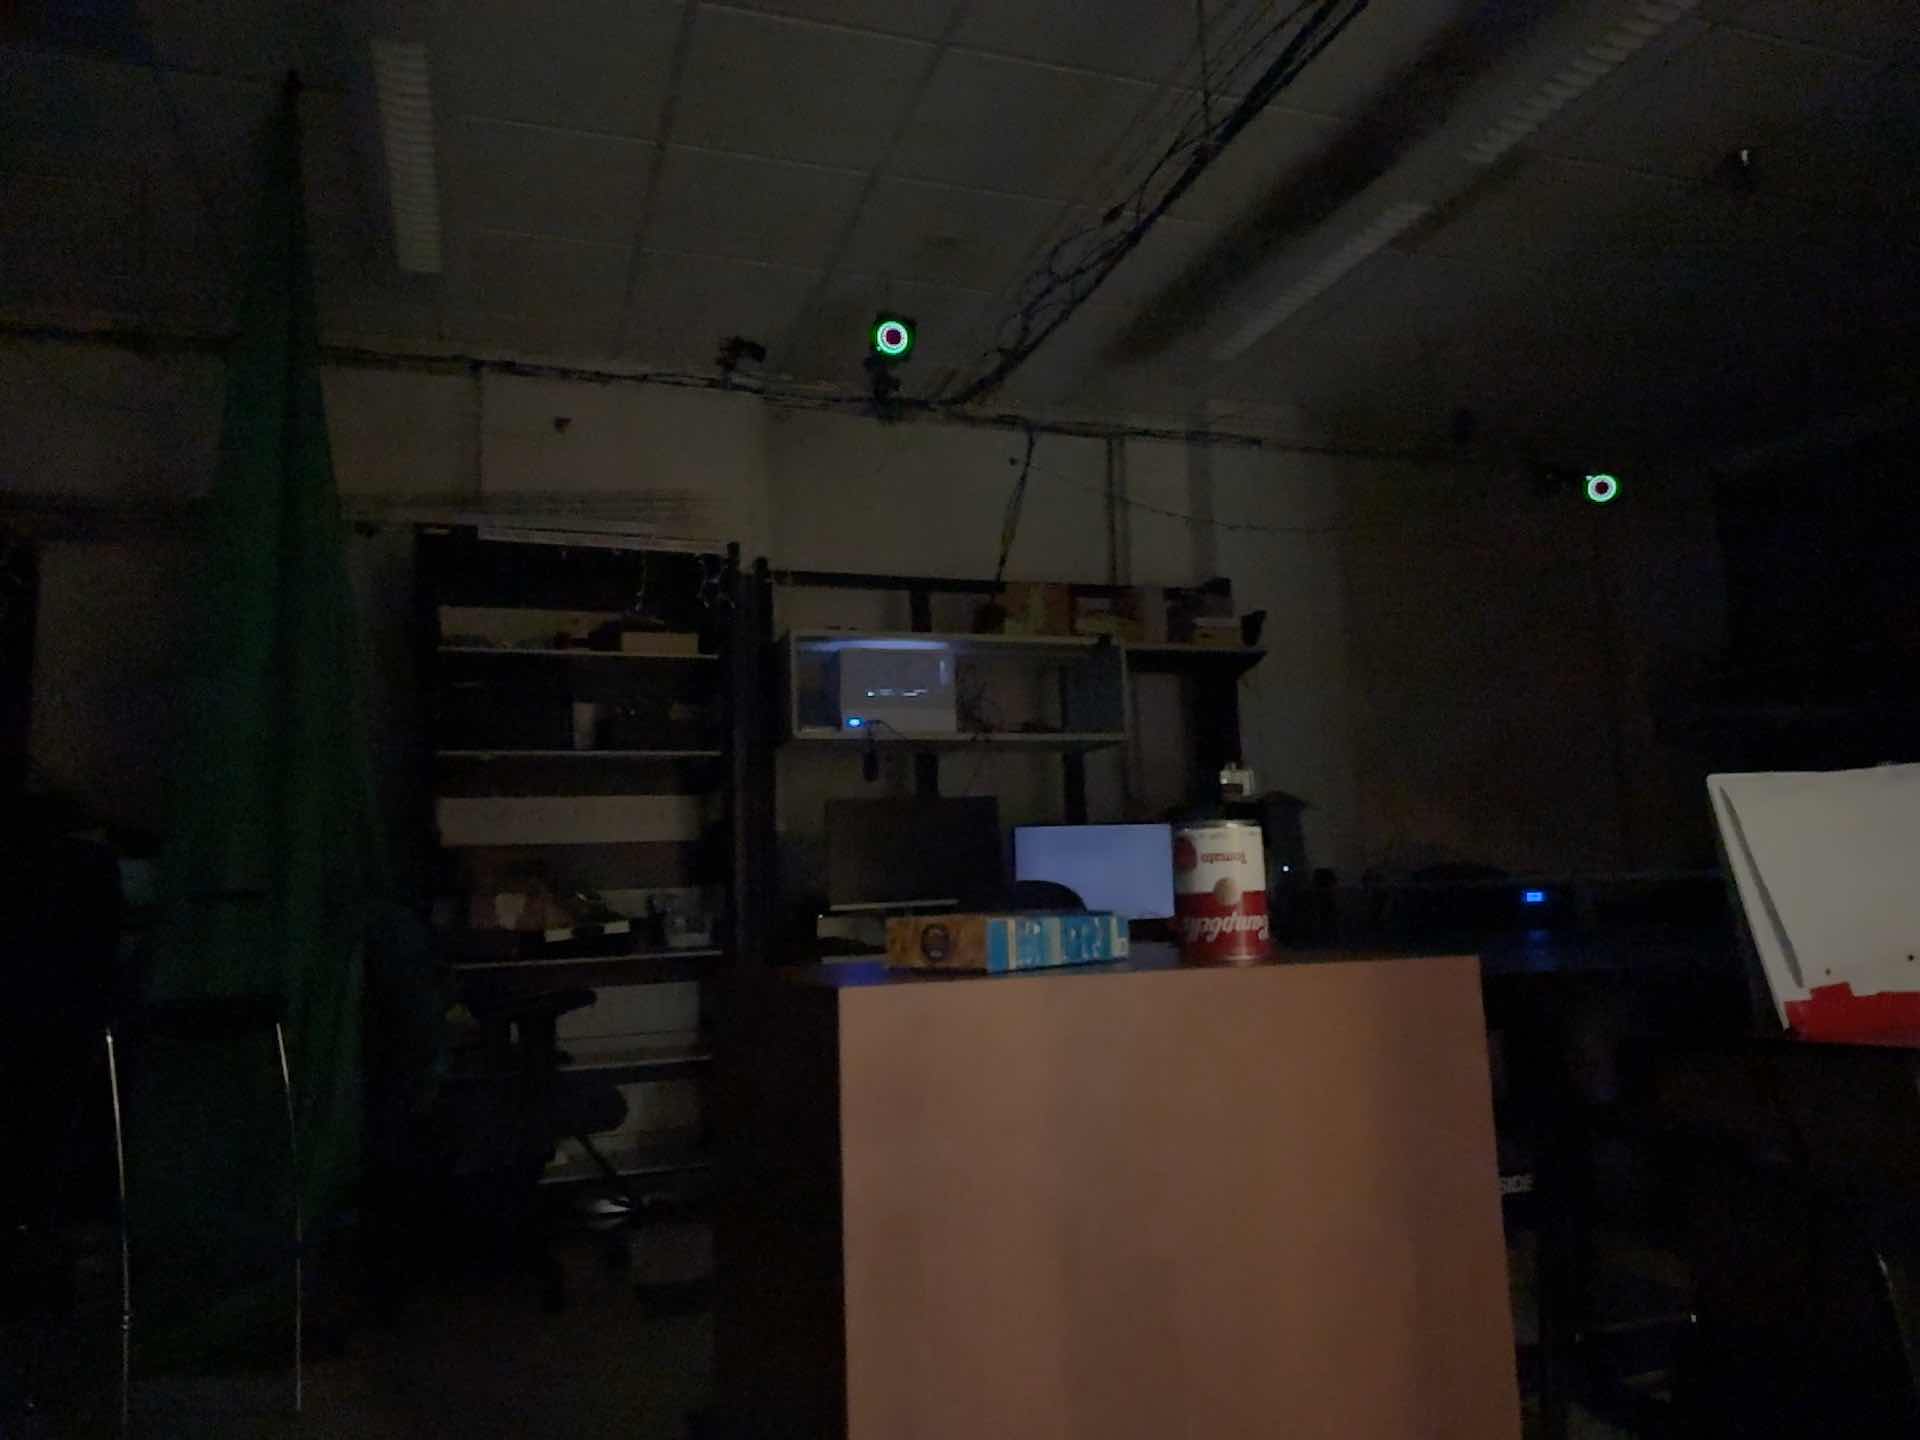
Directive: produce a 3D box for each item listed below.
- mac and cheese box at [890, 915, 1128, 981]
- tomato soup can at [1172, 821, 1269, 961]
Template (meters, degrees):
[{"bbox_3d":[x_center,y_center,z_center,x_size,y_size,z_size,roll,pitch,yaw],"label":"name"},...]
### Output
[{"bbox_3d":[0.040,0.166,0.989,0.088,0.035,0.181,-5,-8,35],"label":"mac and cheese box"},{"bbox_3d":[0.196,0.128,1.015,0.067,0.102,0.067,-1,-6,0],"label":"tomato soup can"}]
